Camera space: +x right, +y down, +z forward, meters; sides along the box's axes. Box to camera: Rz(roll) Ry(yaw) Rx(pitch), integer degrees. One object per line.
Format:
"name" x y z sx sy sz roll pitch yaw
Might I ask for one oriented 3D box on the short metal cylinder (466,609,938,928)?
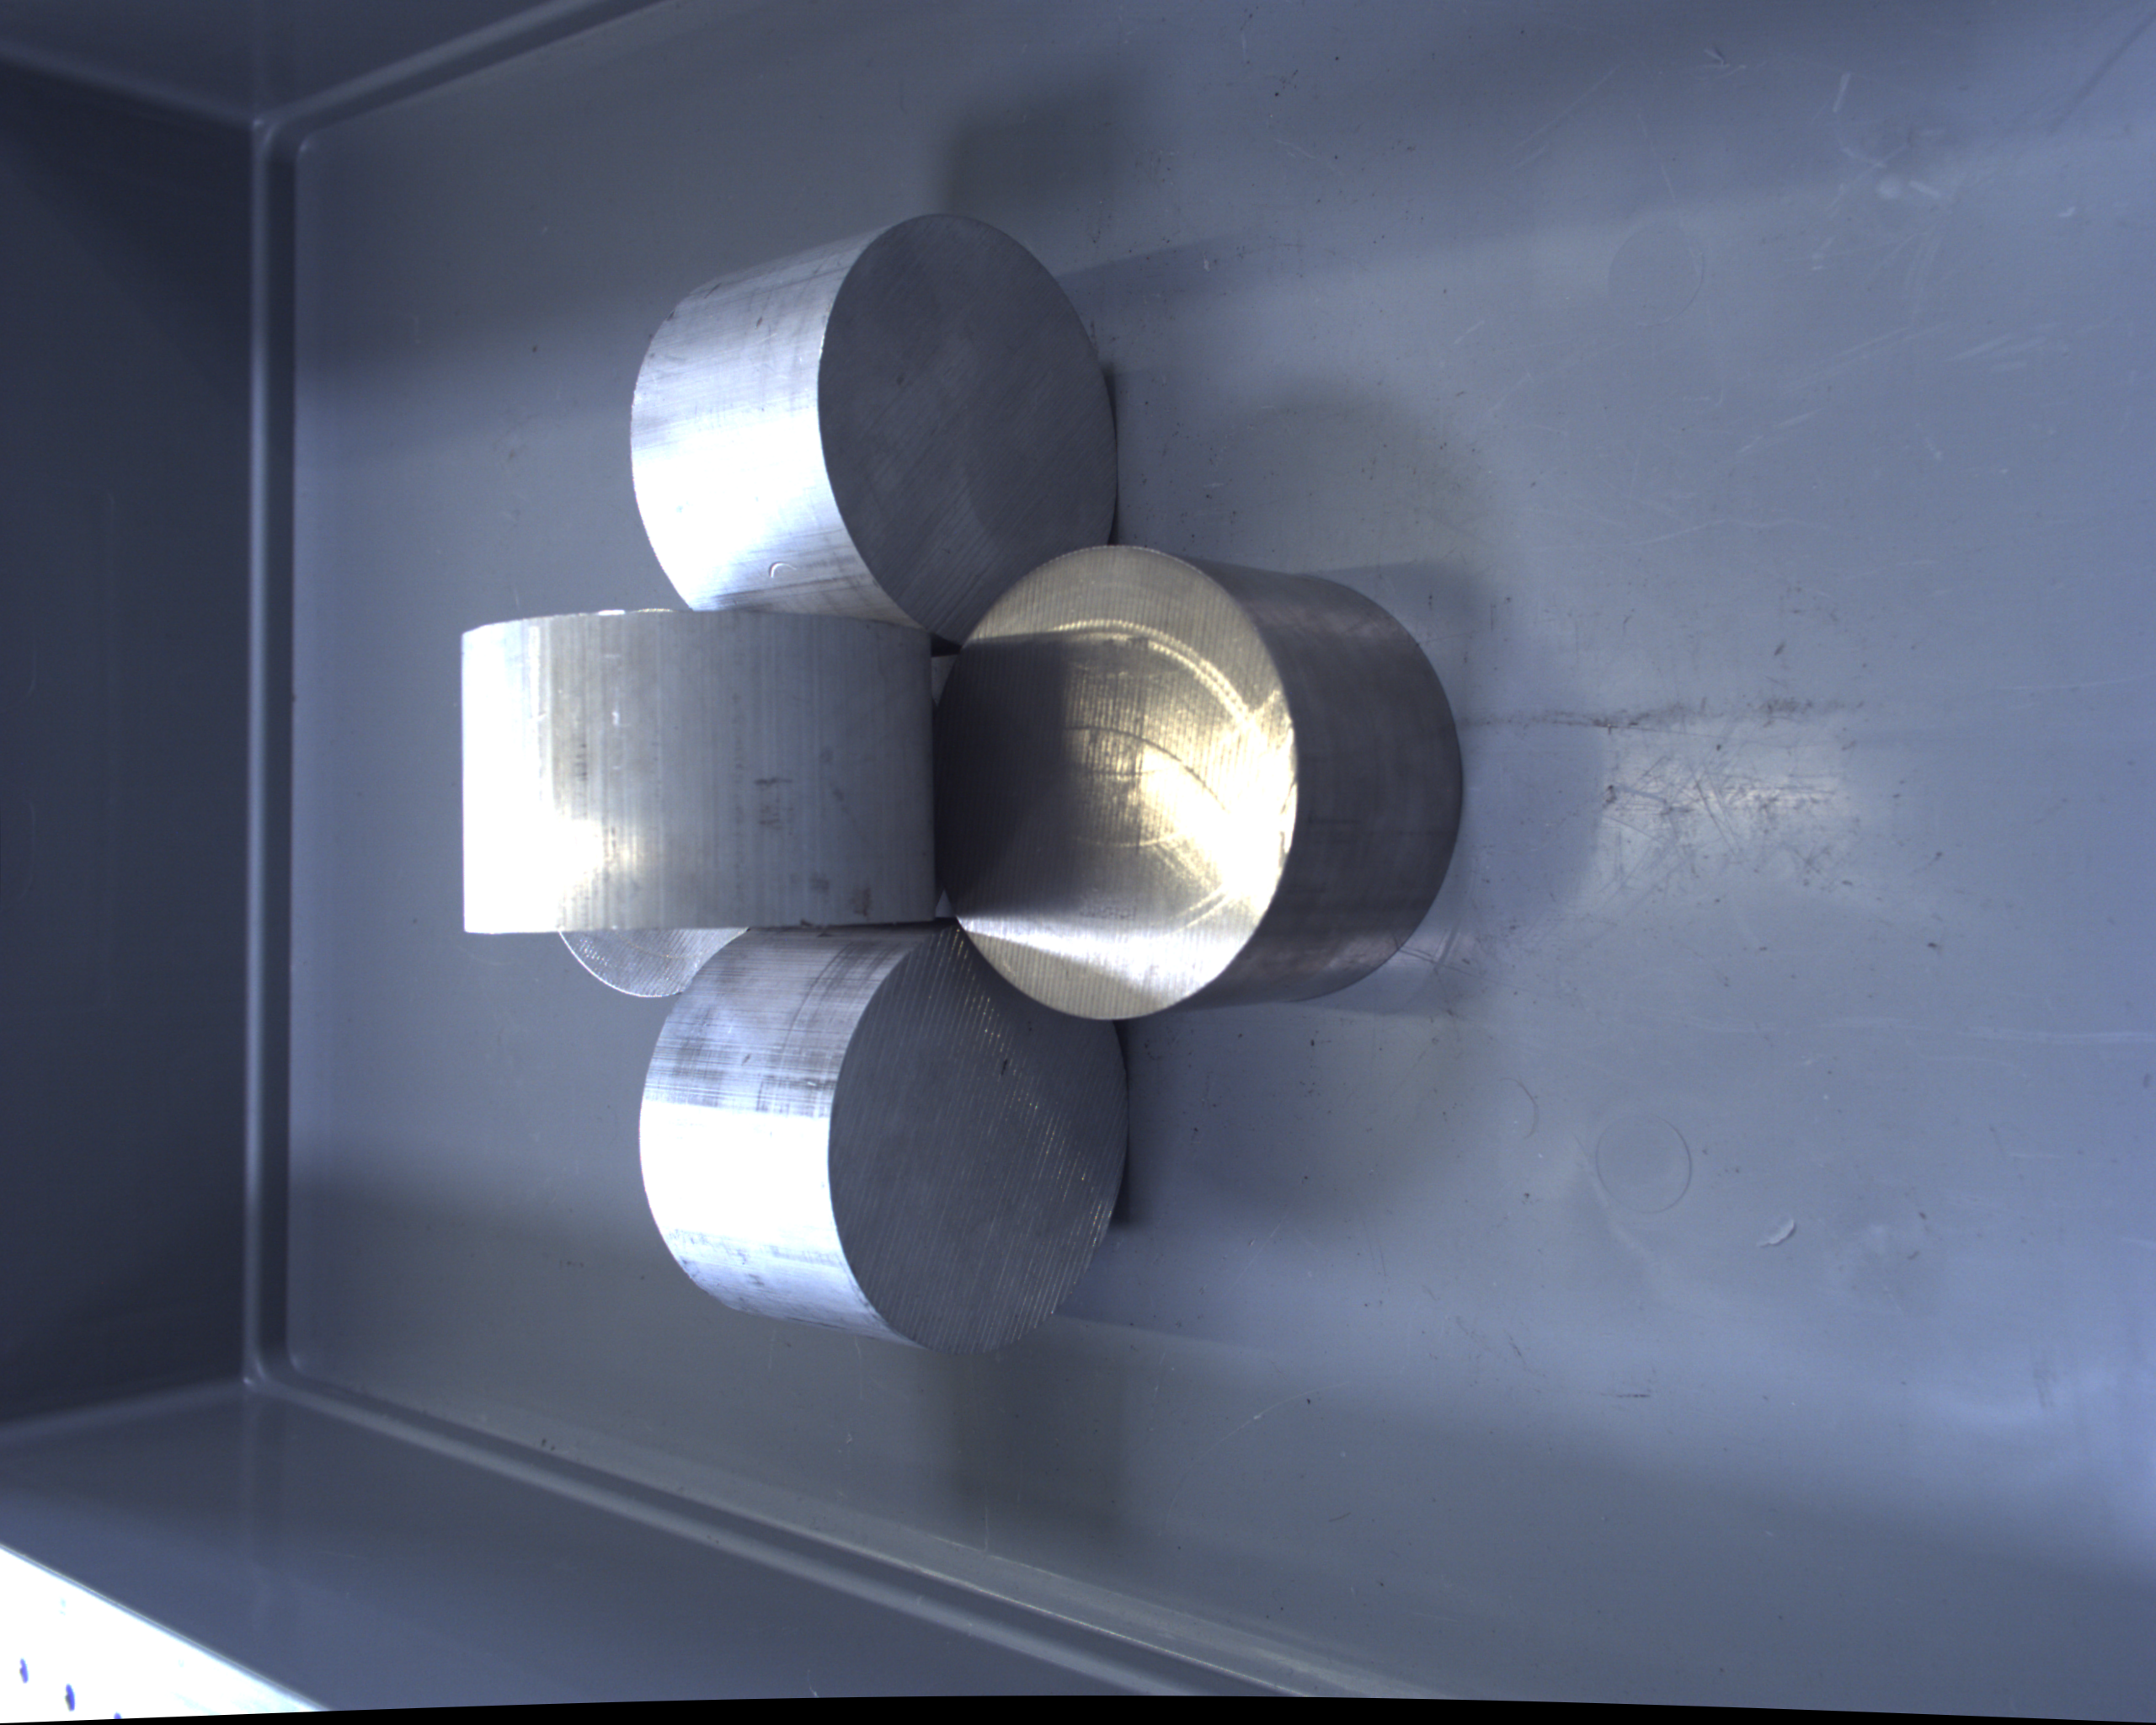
"short metal cylinder" -0.065 -0.014 0.365 0.080 0.081 0.050 -1 89 40

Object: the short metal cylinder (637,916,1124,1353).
"short metal cylinder" -0.036 0.050 0.398 0.050 0.081 0.080 -2 89 39

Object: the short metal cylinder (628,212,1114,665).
"short metal cylinder" -0.038 -0.079 0.400 0.050 0.081 0.080 -2 89 39

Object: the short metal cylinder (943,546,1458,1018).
"short metal cylinder" 0.020 -0.014 0.372 0.080 0.050 0.080 0 90 40

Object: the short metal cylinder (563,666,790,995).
"short metal cylinder" -0.073 -0.013 0.449 0.080 0.050 0.080 0 90 40
